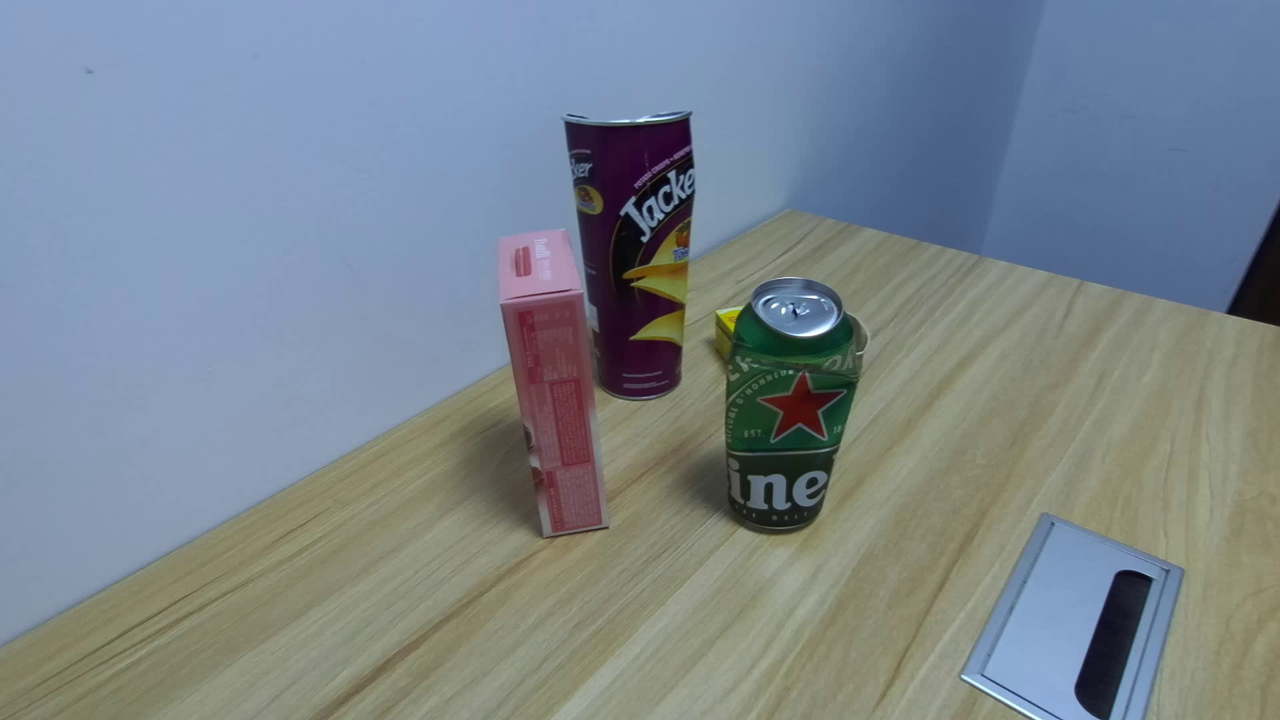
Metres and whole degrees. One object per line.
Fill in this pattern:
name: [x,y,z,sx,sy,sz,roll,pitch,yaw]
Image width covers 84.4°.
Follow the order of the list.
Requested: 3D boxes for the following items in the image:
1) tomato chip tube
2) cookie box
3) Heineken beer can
tomato chip tube: [-0.004,-0.084,0.585,0.077,0.235,0.076,25,41,37]
cookie box: [-0.056,0.018,0.475,0.048,0.185,0.096,-8,33,-7]
Heineken beer can: [0.093,0.034,0.453,0.068,0.168,0.069,25,44,32]
